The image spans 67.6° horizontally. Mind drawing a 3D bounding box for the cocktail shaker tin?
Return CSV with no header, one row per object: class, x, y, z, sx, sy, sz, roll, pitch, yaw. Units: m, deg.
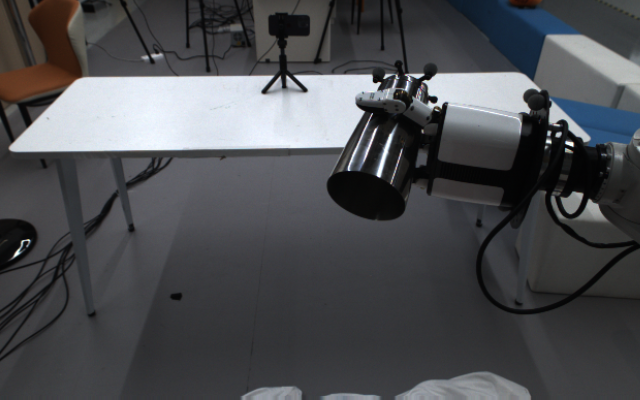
cocktail shaker tin,0.079,-0.072,0.580,0.093,0.093,0.170,14,57,16
